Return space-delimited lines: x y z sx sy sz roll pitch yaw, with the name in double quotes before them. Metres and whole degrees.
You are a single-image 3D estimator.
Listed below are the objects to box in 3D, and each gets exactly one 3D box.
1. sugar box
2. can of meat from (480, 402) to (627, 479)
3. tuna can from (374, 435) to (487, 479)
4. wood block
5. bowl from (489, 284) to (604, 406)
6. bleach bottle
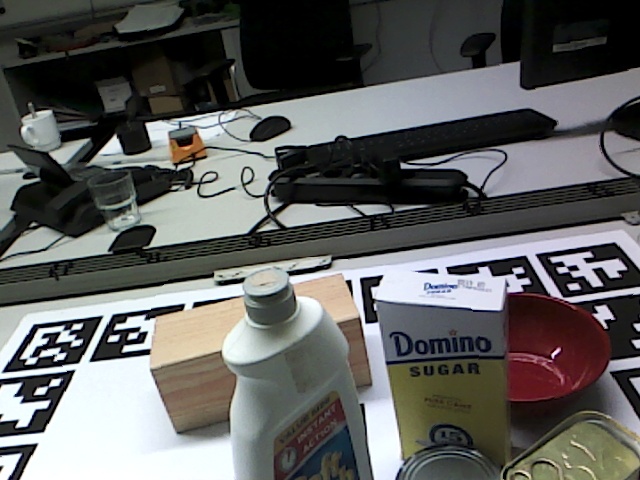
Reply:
"sugar box" 0.097 0.103 0.502 0.093 0.176 0.045 -1 30 26
"can of meat" 0.168 0.180 0.443 0.101 0.083 0.058 -22 26 -23
"tuna can" 0.087 0.197 0.481 0.086 0.033 0.086 -9 30 5
"wood block" -0.071 0.113 0.653 0.206 0.089 0.091 -12 31 -4
"bowl" 0.186 0.108 0.596 0.162 0.055 0.162 -12 26 6
"bleach bottle" -0.029 0.131 0.422 0.102 0.250 0.068 -21 27 -18
